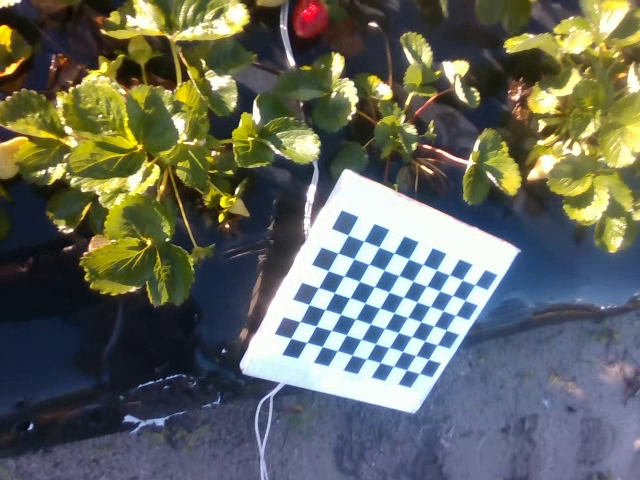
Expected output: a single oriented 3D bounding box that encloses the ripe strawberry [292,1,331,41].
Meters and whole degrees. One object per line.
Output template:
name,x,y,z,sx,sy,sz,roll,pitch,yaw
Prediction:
ripe strawberry,-0.012,-0.294,0.828,0.040,0.080,0.062,-5,-45,35
